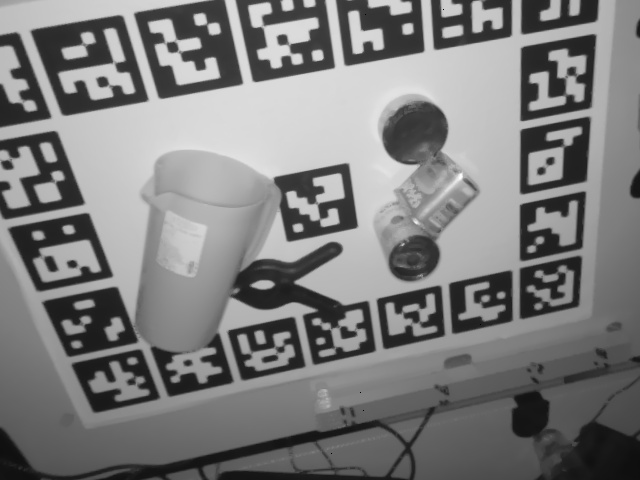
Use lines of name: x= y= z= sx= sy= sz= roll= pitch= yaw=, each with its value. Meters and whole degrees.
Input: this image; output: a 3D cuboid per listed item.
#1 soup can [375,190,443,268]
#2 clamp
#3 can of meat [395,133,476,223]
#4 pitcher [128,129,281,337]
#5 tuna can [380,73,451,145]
soup can: x=0.115 y=-0.016 z=0.913 sx=0.068 sy=0.102 sz=0.067 roll=-5 pitch=116 yaw=-8
clamp: x=-0.036 y=0.042 z=0.966 sx=0.165 sy=0.037 sz=0.121 roll=-7 pitch=123 yaw=-1
can of meat: x=0.153 y=-0.082 z=0.879 sx=0.083 sy=0.102 sz=0.058 roll=-44 pitch=114 yaw=11
pitcher: x=-0.155 y=-0.004 z=0.852 sx=0.192 sy=0.133 sz=0.239 roll=-3 pitch=128 yaw=-32
tuna can: x=0.119 y=-0.165 z=0.872 sx=0.086 sy=0.034 sz=0.085 roll=-4 pitch=116 yaw=-7
